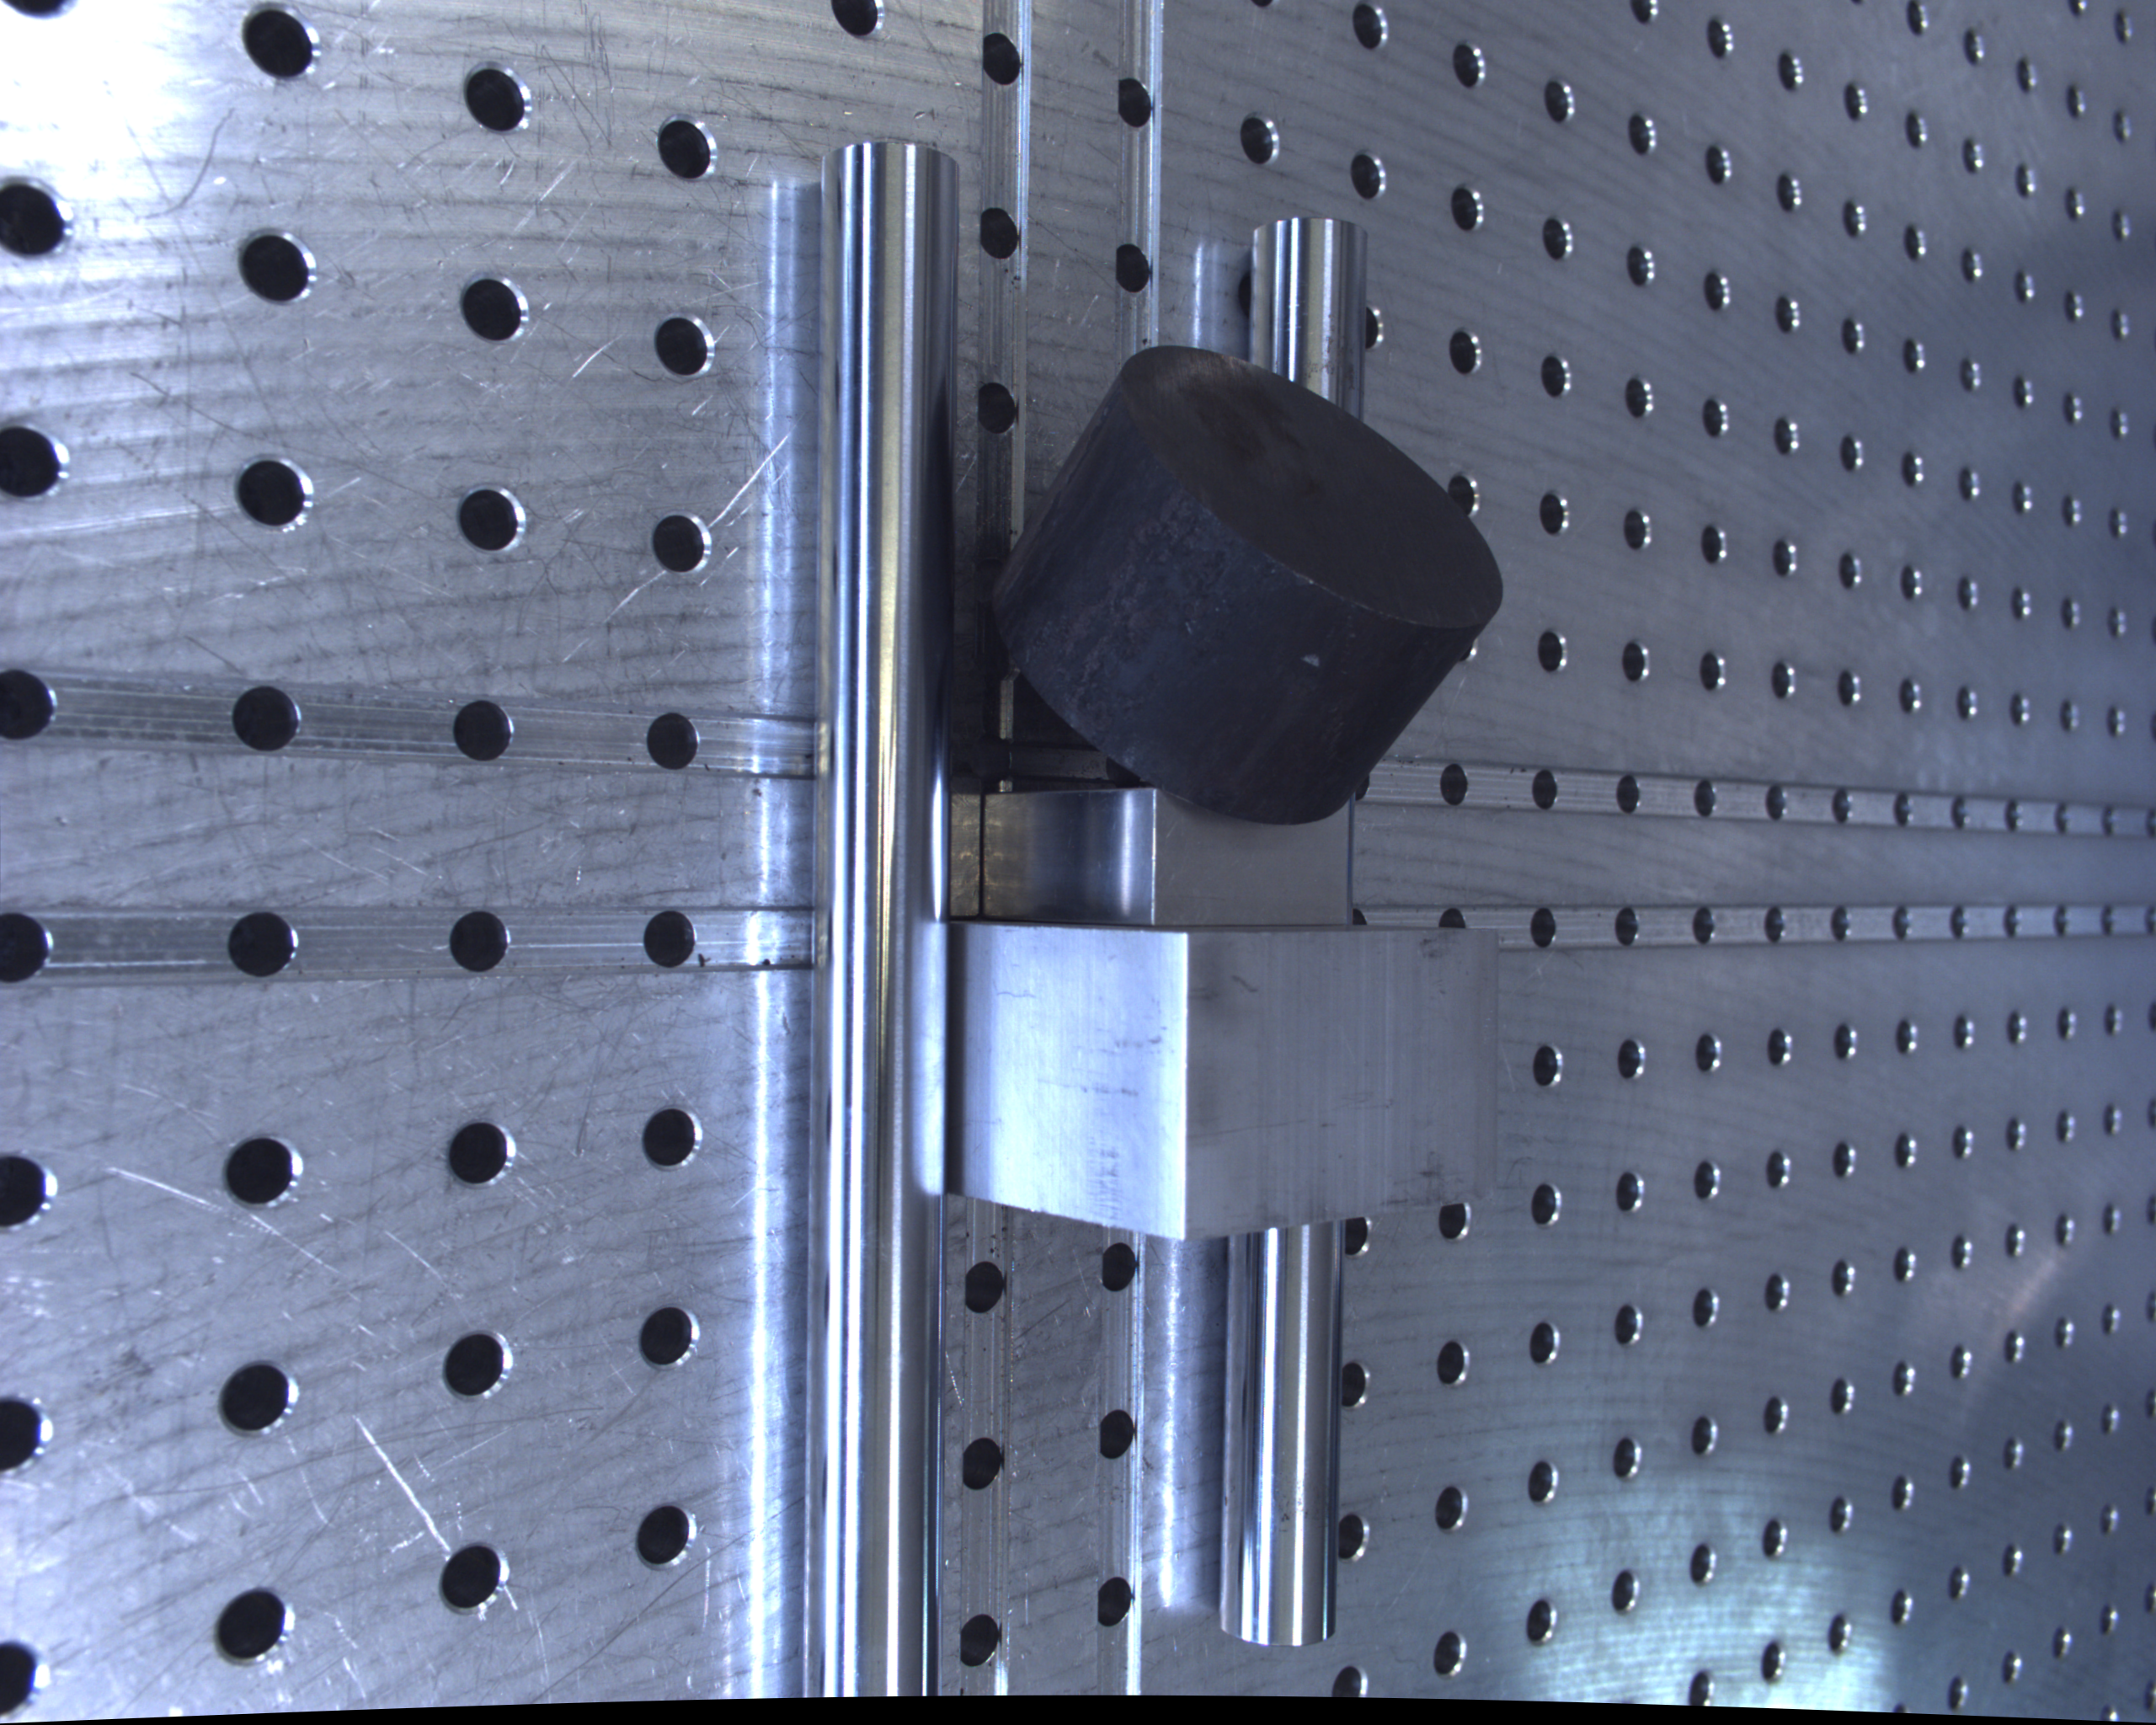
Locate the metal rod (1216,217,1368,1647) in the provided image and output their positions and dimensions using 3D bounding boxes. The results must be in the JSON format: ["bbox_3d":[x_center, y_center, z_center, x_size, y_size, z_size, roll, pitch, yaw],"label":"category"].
[{"bbox_3d":[0.046,0.014,0.447,0.025,0.025,0.298,3,89,-40],"label":"metal rod"}]

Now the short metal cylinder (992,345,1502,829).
[{"bbox_3d":[0.031,-0.052,0.391,0.080,0.050,0.080,23,35,-17],"label":"short metal cylinder"}]

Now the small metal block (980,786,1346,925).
[{"bbox_3d":[0.016,-0.001,0.406,0.050,0.050,0.025,2,89,-41],"label":"small metal block"}]

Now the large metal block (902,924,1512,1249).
[{"bbox_3d":[0.023,0.037,0.390,0.081,0.080,0.050,1,90,-40],"label":"large metal block"}]

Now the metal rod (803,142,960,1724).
[{"bbox_3d":[-0.036,0.022,0.379,0.025,0.025,0.298,1,90,-40],"label":"metal rod"}]
